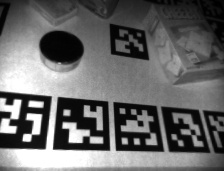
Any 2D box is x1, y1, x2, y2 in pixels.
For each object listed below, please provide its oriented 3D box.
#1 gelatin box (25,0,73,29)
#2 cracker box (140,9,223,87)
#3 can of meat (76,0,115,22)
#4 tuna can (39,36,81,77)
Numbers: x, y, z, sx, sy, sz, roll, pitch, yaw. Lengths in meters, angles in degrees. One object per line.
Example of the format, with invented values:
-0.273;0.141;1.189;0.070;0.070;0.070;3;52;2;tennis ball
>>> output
-0.152;-0.188;0.525;0.089;0.030;0.074;43;54;3;gelatin box
0.196;-0.112;0.590;0.166;0.072;0.212;-10;64;-26;cracker box
-0.041;-0.228;0.564;0.102;0.083;0.058;31;56;1;can of meat
-0.111;-0.062;0.464;0.086;0.033;0.085;8;63;-15;tuna can
